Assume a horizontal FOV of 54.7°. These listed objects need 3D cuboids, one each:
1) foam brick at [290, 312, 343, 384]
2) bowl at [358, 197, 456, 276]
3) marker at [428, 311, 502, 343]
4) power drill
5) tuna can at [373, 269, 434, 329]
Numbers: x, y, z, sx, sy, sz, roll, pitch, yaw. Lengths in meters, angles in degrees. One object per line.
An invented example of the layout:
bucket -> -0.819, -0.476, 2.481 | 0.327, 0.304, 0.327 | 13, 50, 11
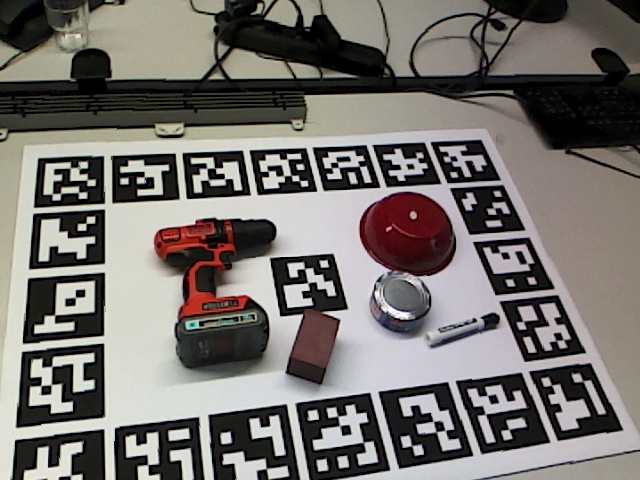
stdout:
foam brick -> -0.004, 0.147, 0.844 | 0.051, 0.053, 0.078 | 16, 53, 0
bowl -> 0.144, -0.020, 0.999 | 0.161, 0.055, 0.162 | 2, 47, -3
marker -> 0.215, 0.127, 0.909 | 0.120, 0.019, 0.020 | -13, 58, -19
power drill -> -0.138, 0.064, 0.878 | 0.184, 0.057, 0.188 | -4, 51, -17
tuna can -> 0.122, 0.088, 0.914 | 0.085, 0.034, 0.086 | 6, 52, -8
